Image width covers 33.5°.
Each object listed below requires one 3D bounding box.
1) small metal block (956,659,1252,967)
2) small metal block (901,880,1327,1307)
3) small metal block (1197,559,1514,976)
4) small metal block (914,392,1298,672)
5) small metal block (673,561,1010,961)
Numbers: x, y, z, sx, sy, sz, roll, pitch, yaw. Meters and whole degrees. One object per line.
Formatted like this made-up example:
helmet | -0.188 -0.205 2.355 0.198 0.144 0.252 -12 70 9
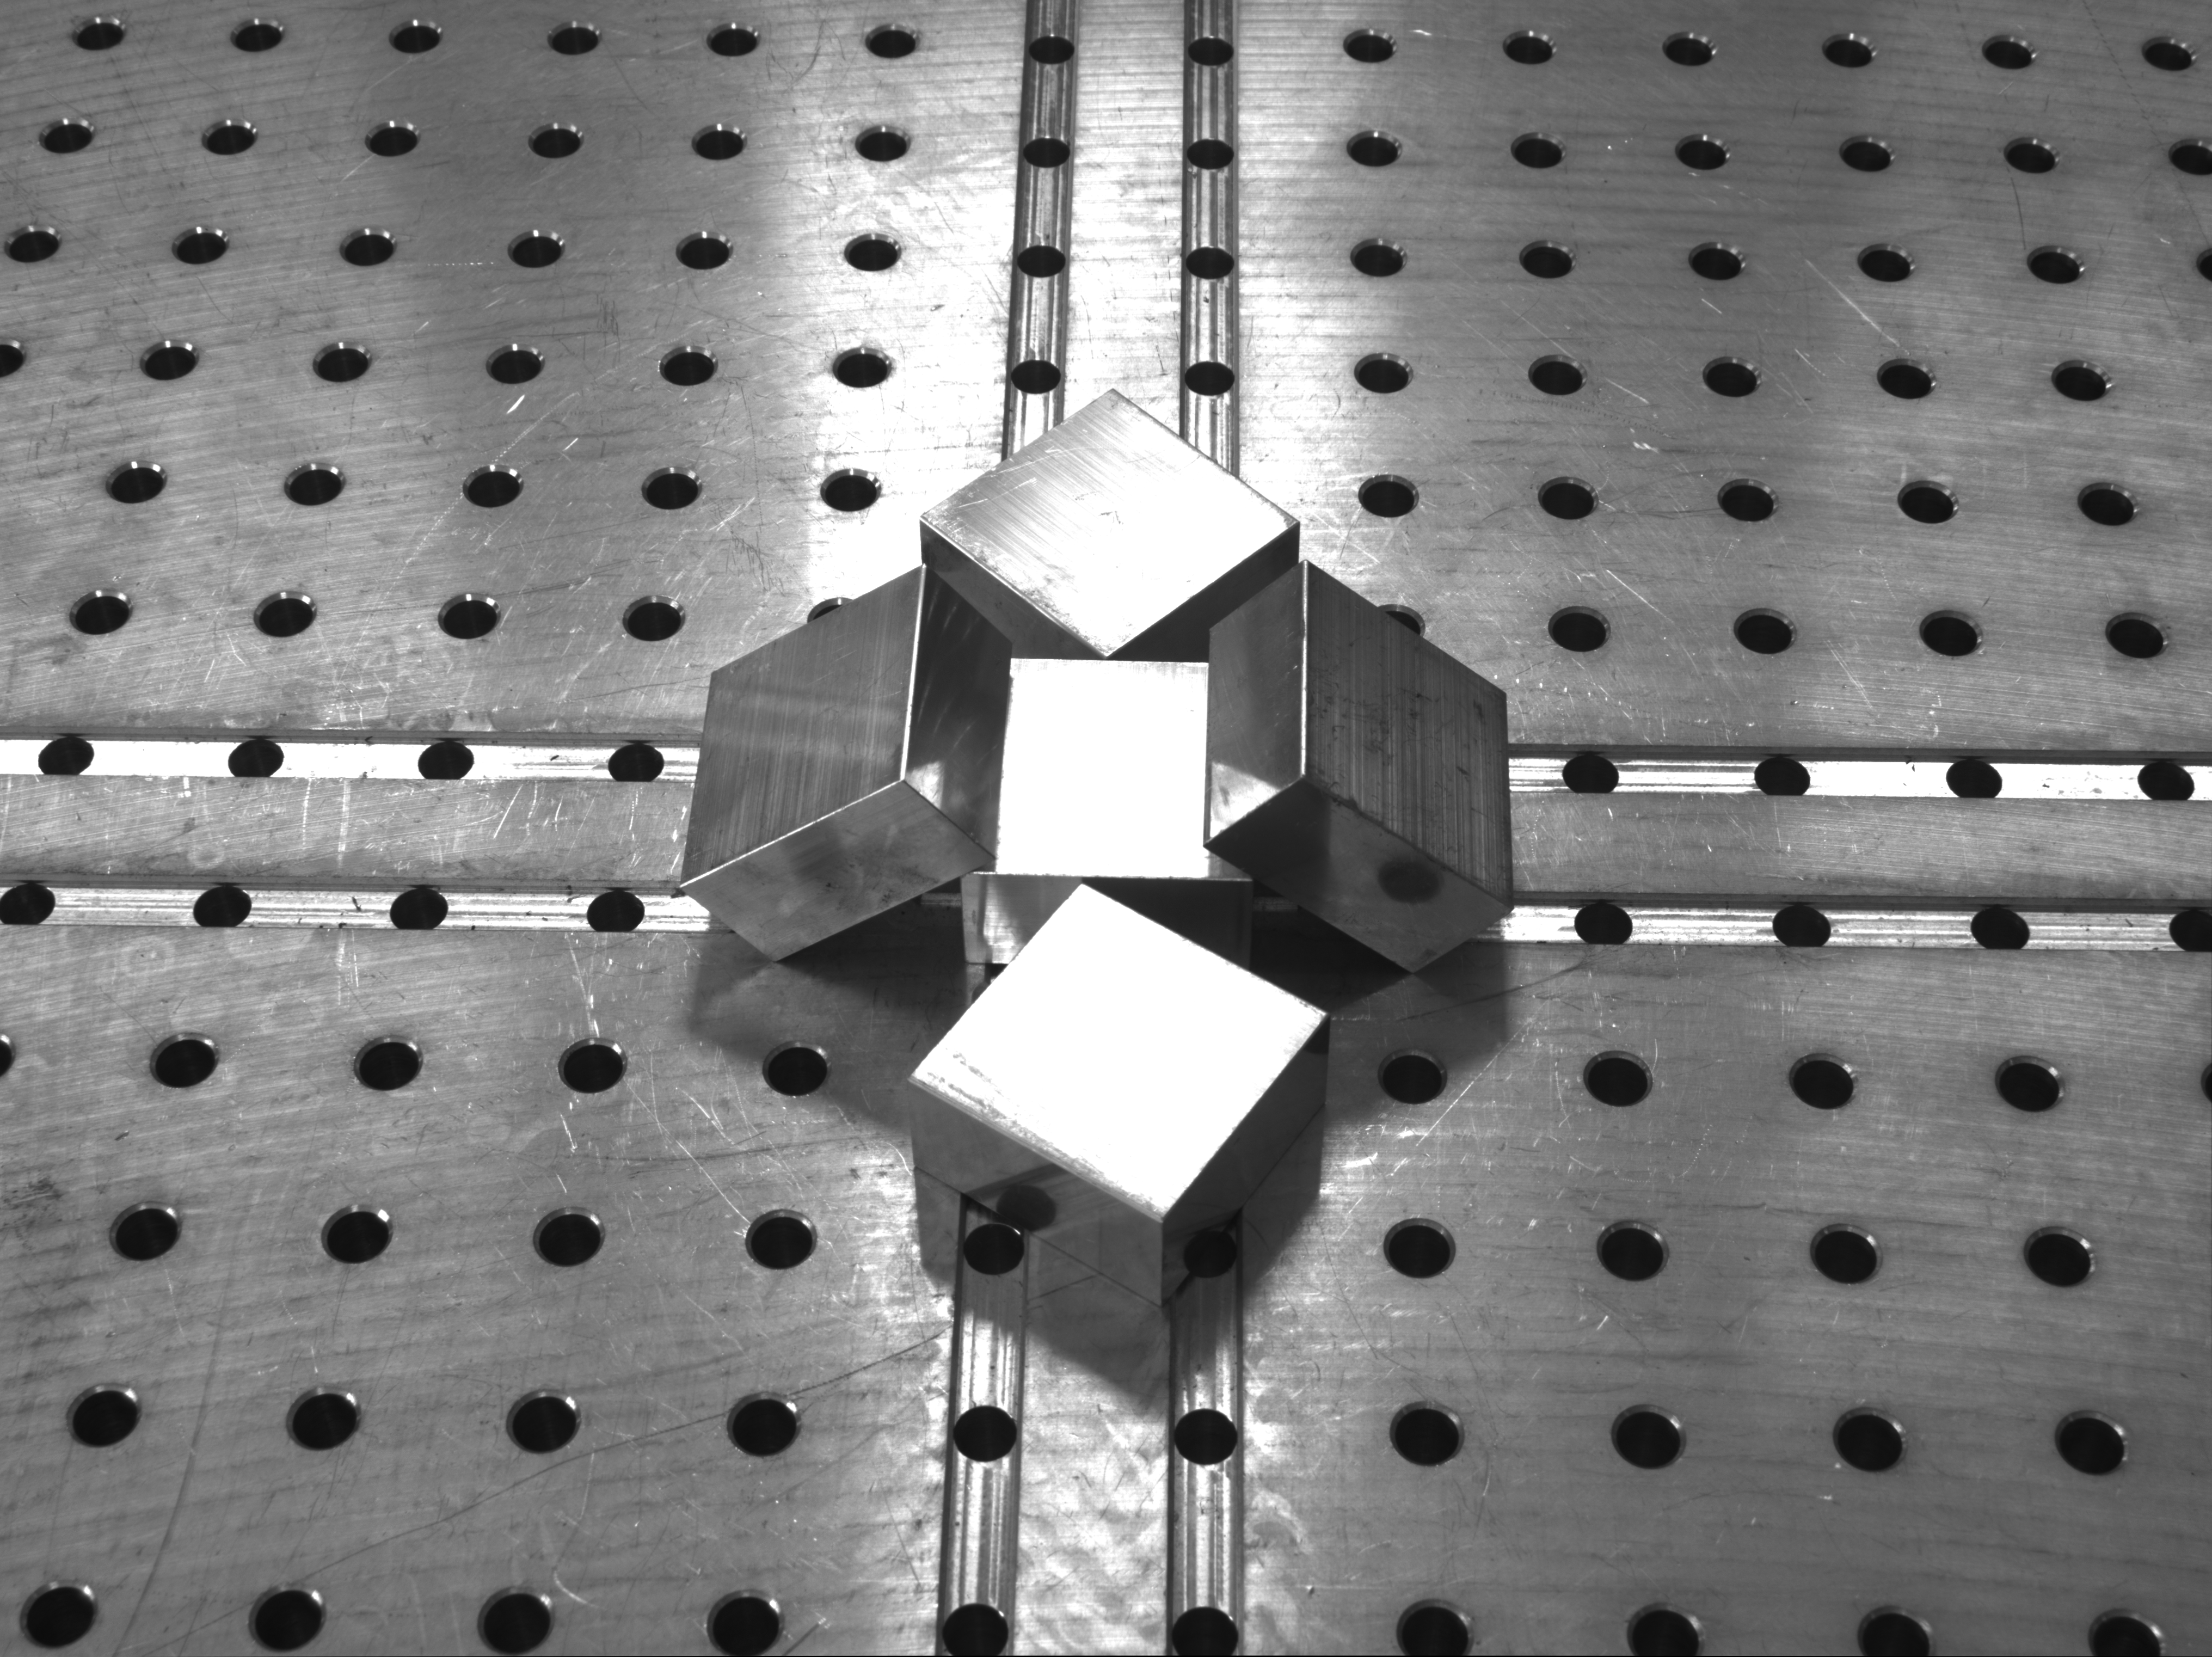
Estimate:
small metal block | 0.000 -0.003 0.647 0.050 0.025 0.050 1 49 1
small metal block | 0.002 0.043 0.608 0.050 0.025 0.050 27 55 23
small metal block | 0.044 -0.010 0.637 0.050 0.025 0.050 31 43 -28
small metal block | 0.000 -0.048 0.687 0.050 0.025 0.050 -36 58 -27
small metal block | -0.046 -0.011 0.639 0.050 0.025 0.050 -24 44 29
